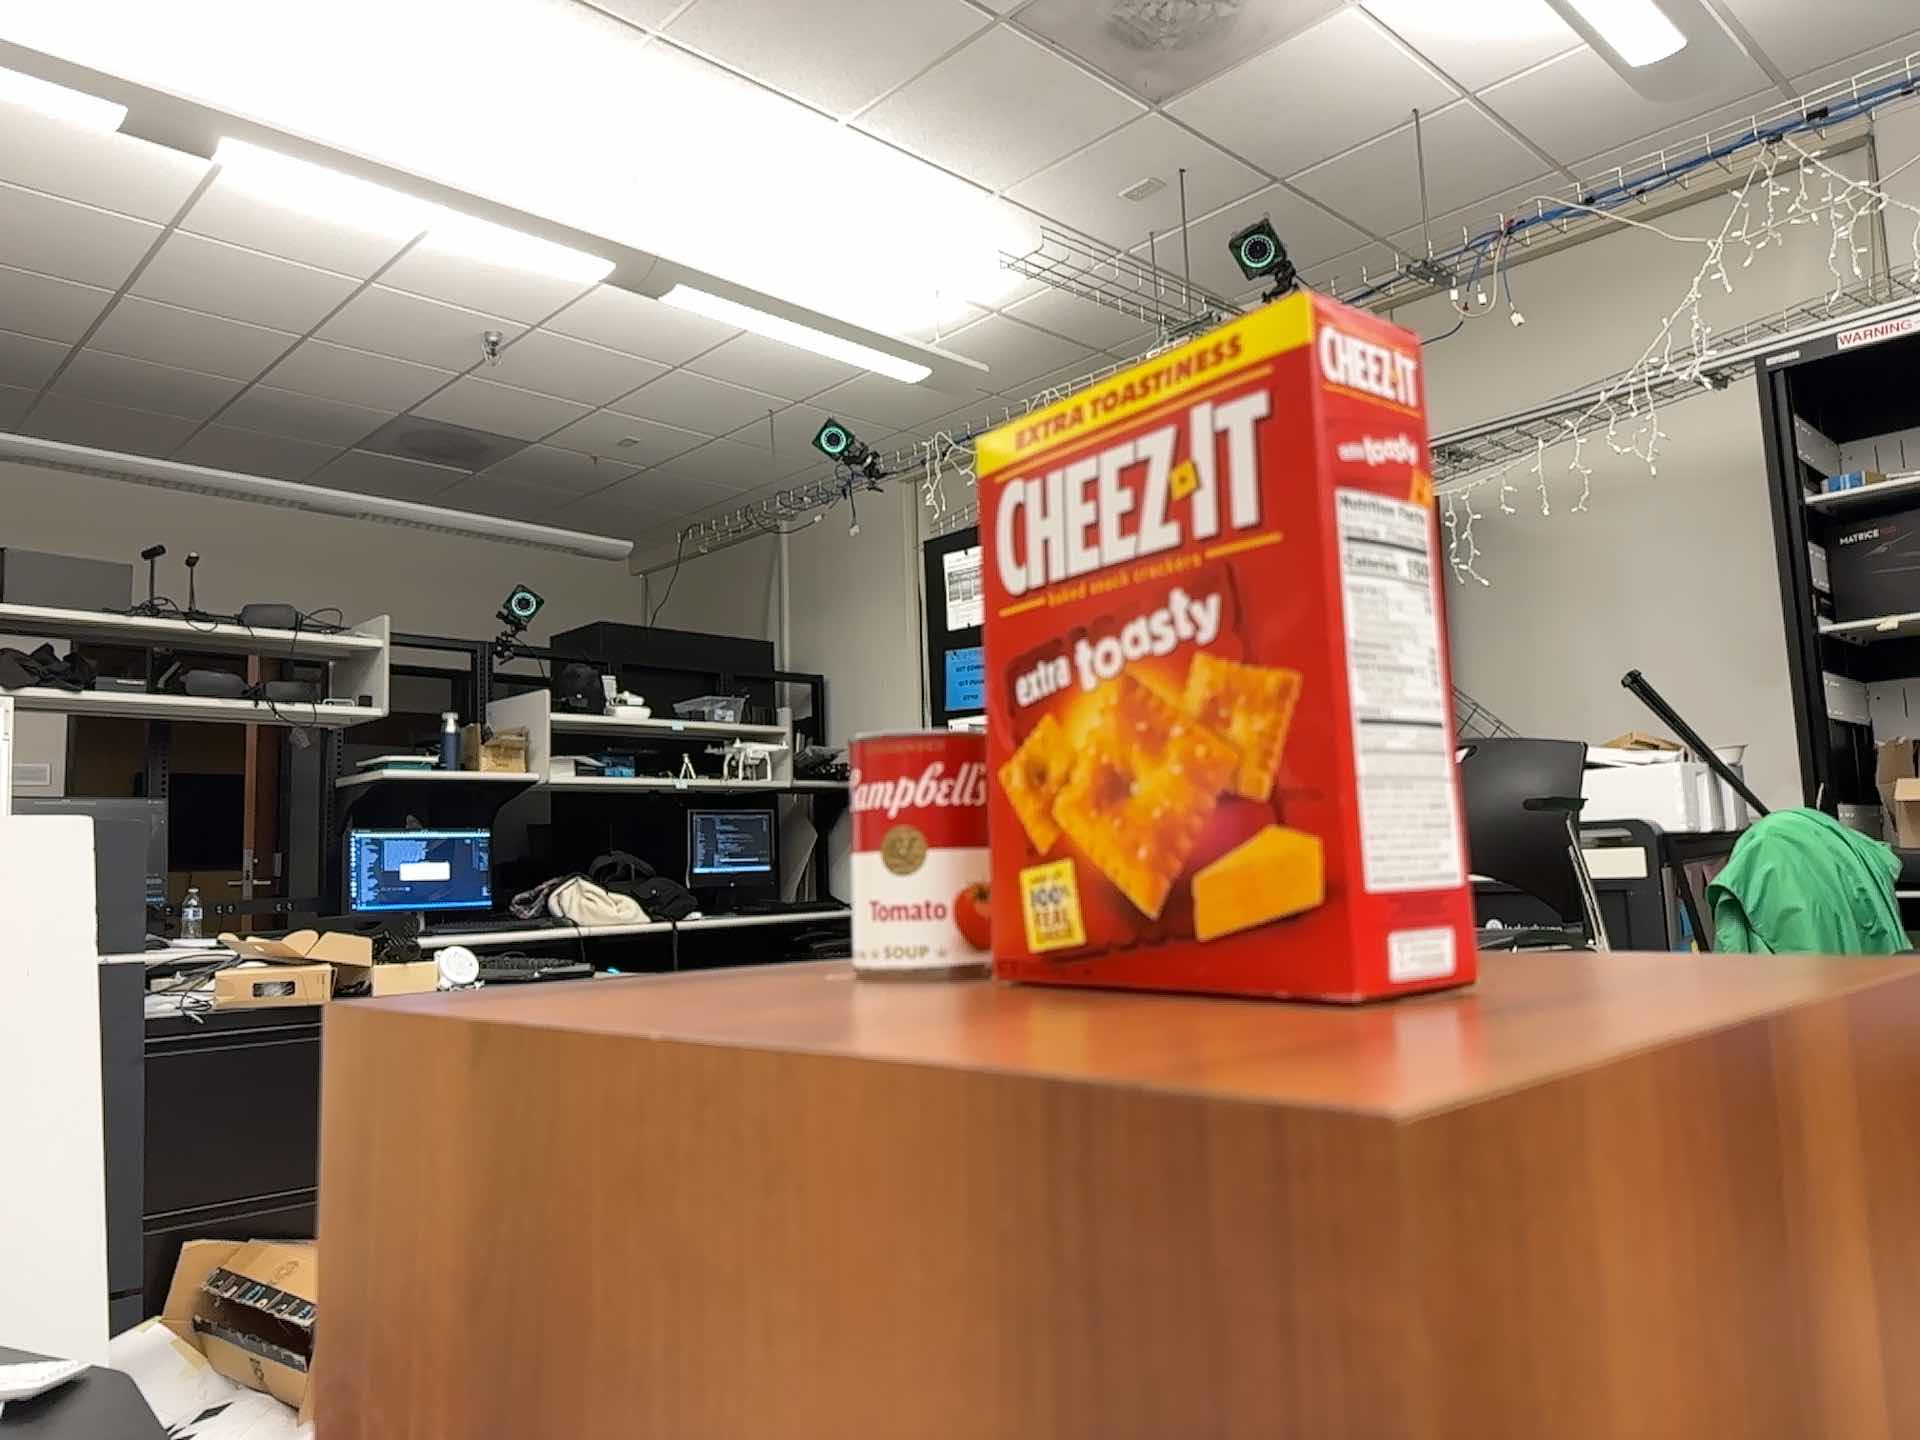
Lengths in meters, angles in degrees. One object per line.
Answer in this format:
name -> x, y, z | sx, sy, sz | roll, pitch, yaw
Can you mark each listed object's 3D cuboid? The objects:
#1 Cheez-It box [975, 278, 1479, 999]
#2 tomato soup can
Cheez-It box -> 0.083, -0.016, 0.478 | 0.062, 0.214, 0.159 | 5, -11, -40
tomato soup can -> -0.016, 0.061, 0.570 | 0.067, 0.102, 0.067 | -1, -9, 0
